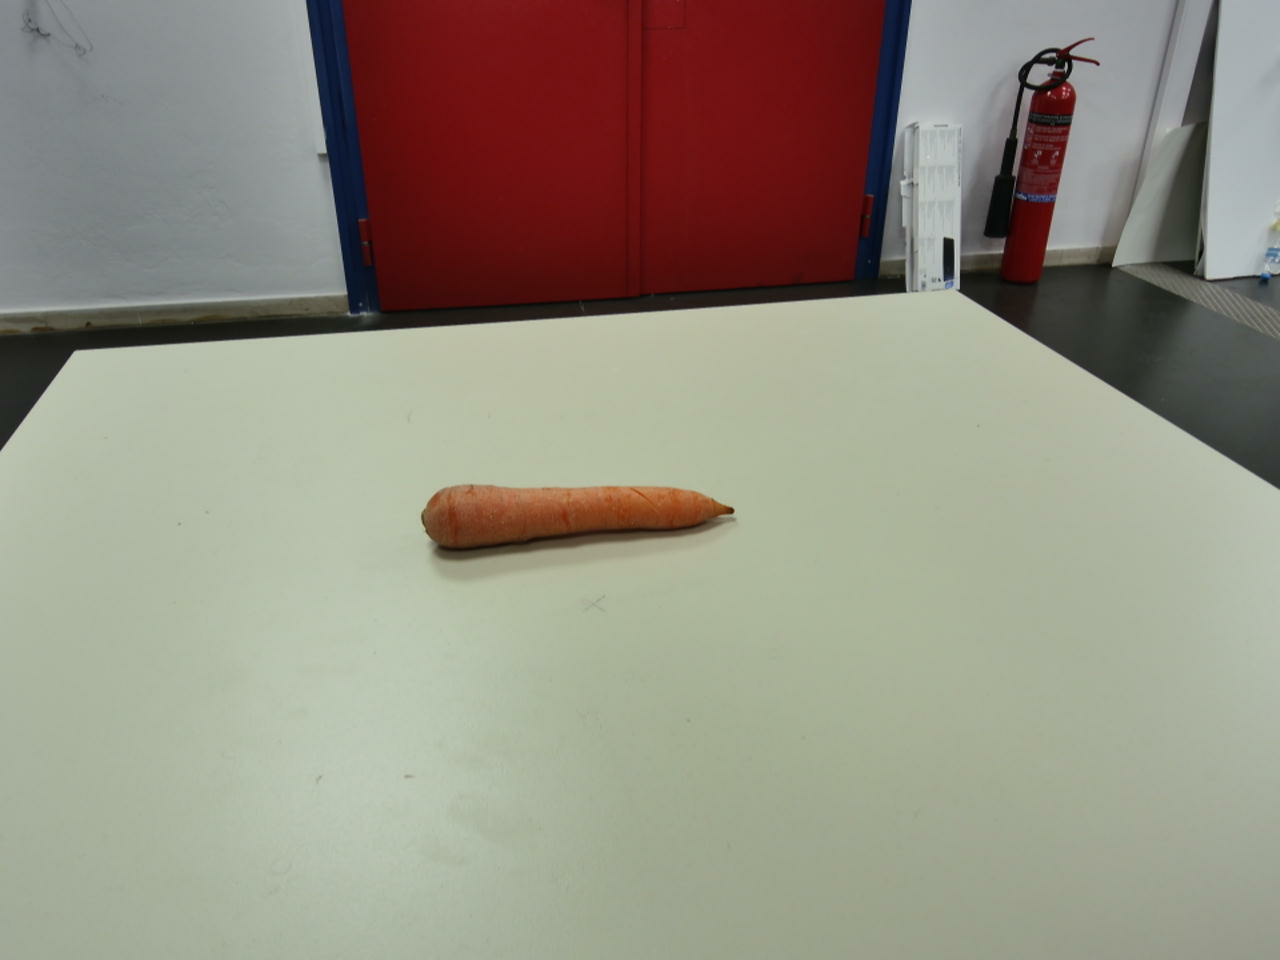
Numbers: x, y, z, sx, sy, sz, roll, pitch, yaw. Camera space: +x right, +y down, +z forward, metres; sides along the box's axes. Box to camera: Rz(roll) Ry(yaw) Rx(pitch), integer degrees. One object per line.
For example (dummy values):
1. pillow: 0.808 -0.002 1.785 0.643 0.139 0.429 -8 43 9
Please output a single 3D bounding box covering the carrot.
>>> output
1. carrot: -0.035 0.016 0.622 0.196 0.041 0.039 -6 27 -11
